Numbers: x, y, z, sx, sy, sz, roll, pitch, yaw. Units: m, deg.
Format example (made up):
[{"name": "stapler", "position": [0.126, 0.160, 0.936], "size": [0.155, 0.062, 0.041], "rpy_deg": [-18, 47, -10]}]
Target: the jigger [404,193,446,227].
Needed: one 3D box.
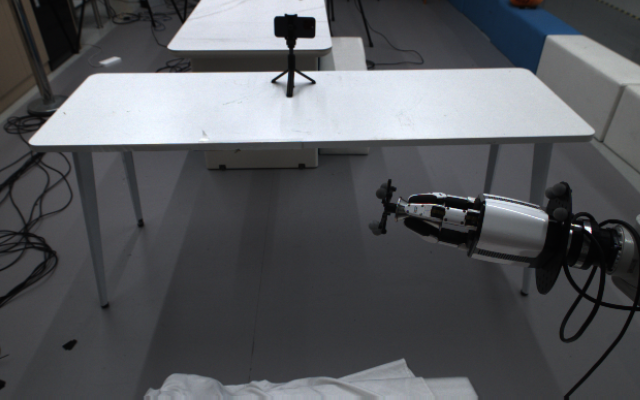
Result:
[{"name": "jigger", "position": [0.156, 0.016, 0.725], "size": [0.071, 0.043, 0.043], "rpy_deg": [10, 35, 15]}]
